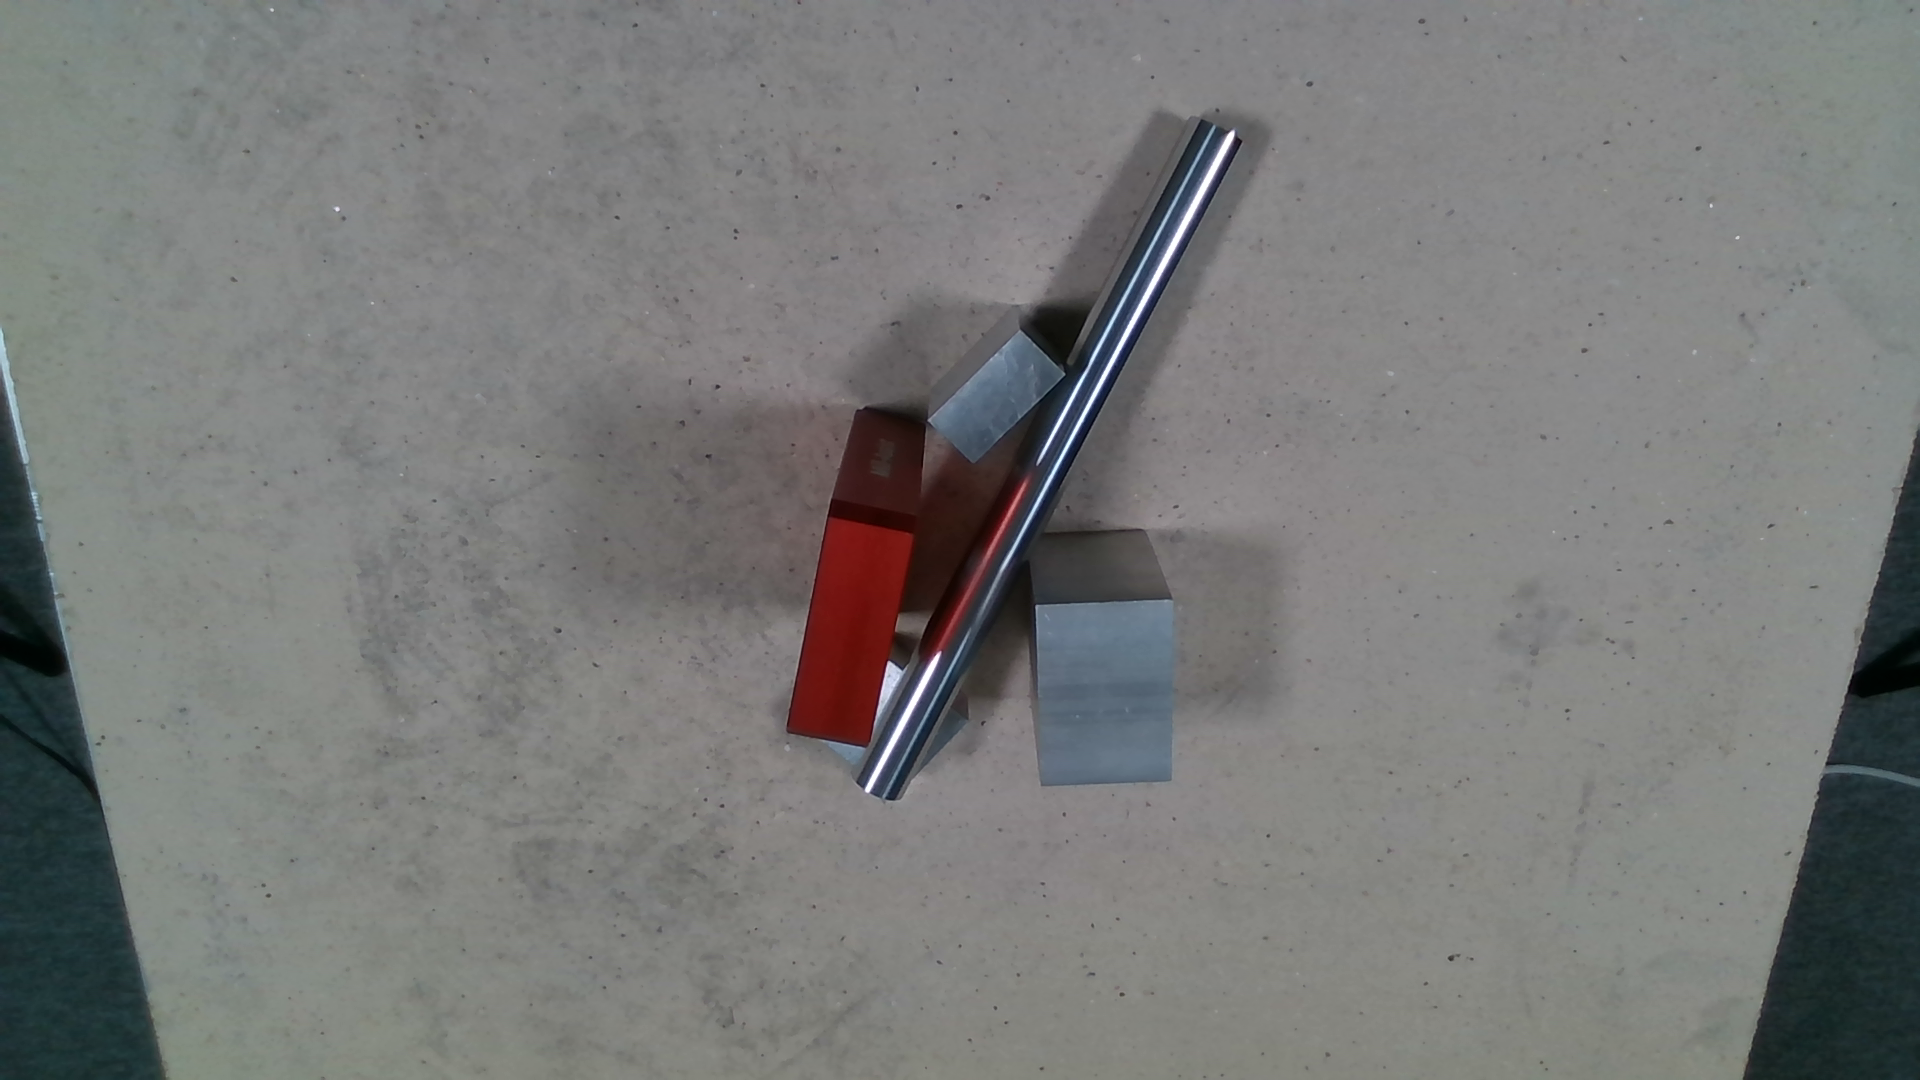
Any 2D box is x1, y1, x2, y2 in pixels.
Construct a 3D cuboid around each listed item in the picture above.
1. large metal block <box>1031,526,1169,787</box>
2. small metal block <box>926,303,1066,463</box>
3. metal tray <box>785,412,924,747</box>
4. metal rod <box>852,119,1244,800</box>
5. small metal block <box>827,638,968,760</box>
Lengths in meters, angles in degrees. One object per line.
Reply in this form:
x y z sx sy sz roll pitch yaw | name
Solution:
0.055 0.046 0.571 0.050 0.080 0.080 -2 110 1 | large metal block
0.014 -0.063 0.547 0.025 0.050 0.050 43 105 -14 | small metal block
-0.039 0.010 0.533 0.030 0.130 0.090 12 109 -4 | metal tray
0.031 -0.025 0.561 0.025 0.025 0.300 25 103 -9 | metal rod
-0.032 0.076 0.614 0.050 0.025 0.050 40 106 -13 | small metal block
